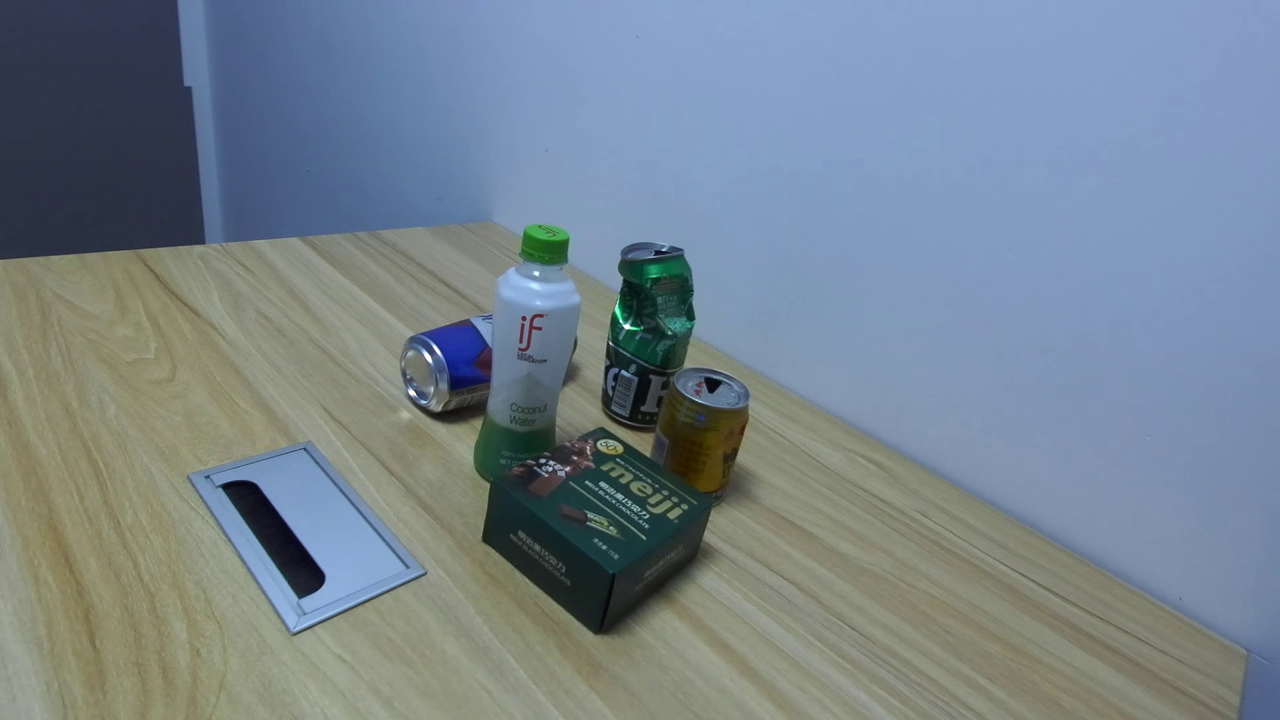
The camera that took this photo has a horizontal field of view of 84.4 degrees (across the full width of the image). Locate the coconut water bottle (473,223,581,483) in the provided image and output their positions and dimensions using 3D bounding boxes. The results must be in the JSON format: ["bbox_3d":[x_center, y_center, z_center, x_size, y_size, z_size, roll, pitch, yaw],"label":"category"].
[{"bbox_3d":[-0.079,-0.001,0.506,0.063,0.188,0.063,10,26,-5],"label":"coconut water bottle"}]

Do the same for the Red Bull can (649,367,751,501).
[{"bbox_3d":[0.045,0.060,0.548,0.069,0.092,0.069,11,25,-5],"label":"Red Bull can"}]

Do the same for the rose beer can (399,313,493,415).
[{"bbox_3d":[-0.130,-0.005,0.636,0.069,0.069,0.168,6,16,36],"label":"rose beer can"}]

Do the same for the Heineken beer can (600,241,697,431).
[{"bbox_3d":[0.010,-0.020,0.619,0.078,0.159,0.067,11,20,14],"label":"Heineken beer can"}]

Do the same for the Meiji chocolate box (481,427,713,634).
[{"bbox_3d":[-0.027,0.107,0.472,0.109,0.056,0.109,29,31,30],"label":"Meiji chocolate box"}]
